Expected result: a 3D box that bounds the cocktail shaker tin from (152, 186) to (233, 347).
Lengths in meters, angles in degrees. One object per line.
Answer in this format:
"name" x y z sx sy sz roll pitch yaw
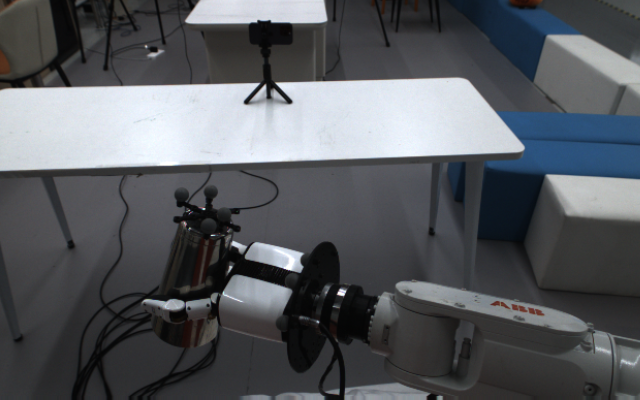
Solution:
"cocktail shaker tin" -0.160 0.095 0.627 0.093 0.170 0.093 15 27 -8
